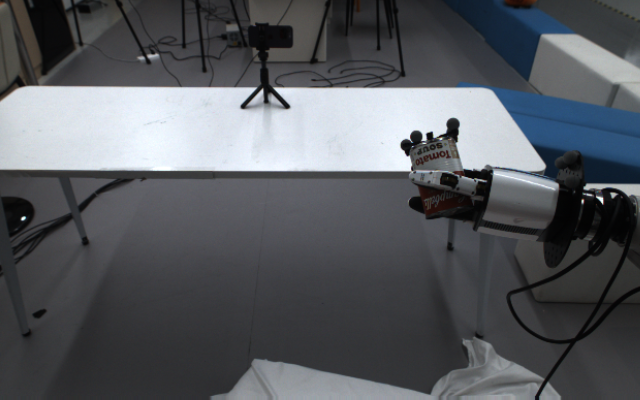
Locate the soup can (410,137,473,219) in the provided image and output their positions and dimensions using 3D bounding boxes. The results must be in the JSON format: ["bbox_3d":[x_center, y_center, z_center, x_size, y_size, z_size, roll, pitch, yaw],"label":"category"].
[{"bbox_3d":[0.171,-0.031,0.683,0.067,0.067,0.101,-10,80,-16],"label":"soup can"}]
